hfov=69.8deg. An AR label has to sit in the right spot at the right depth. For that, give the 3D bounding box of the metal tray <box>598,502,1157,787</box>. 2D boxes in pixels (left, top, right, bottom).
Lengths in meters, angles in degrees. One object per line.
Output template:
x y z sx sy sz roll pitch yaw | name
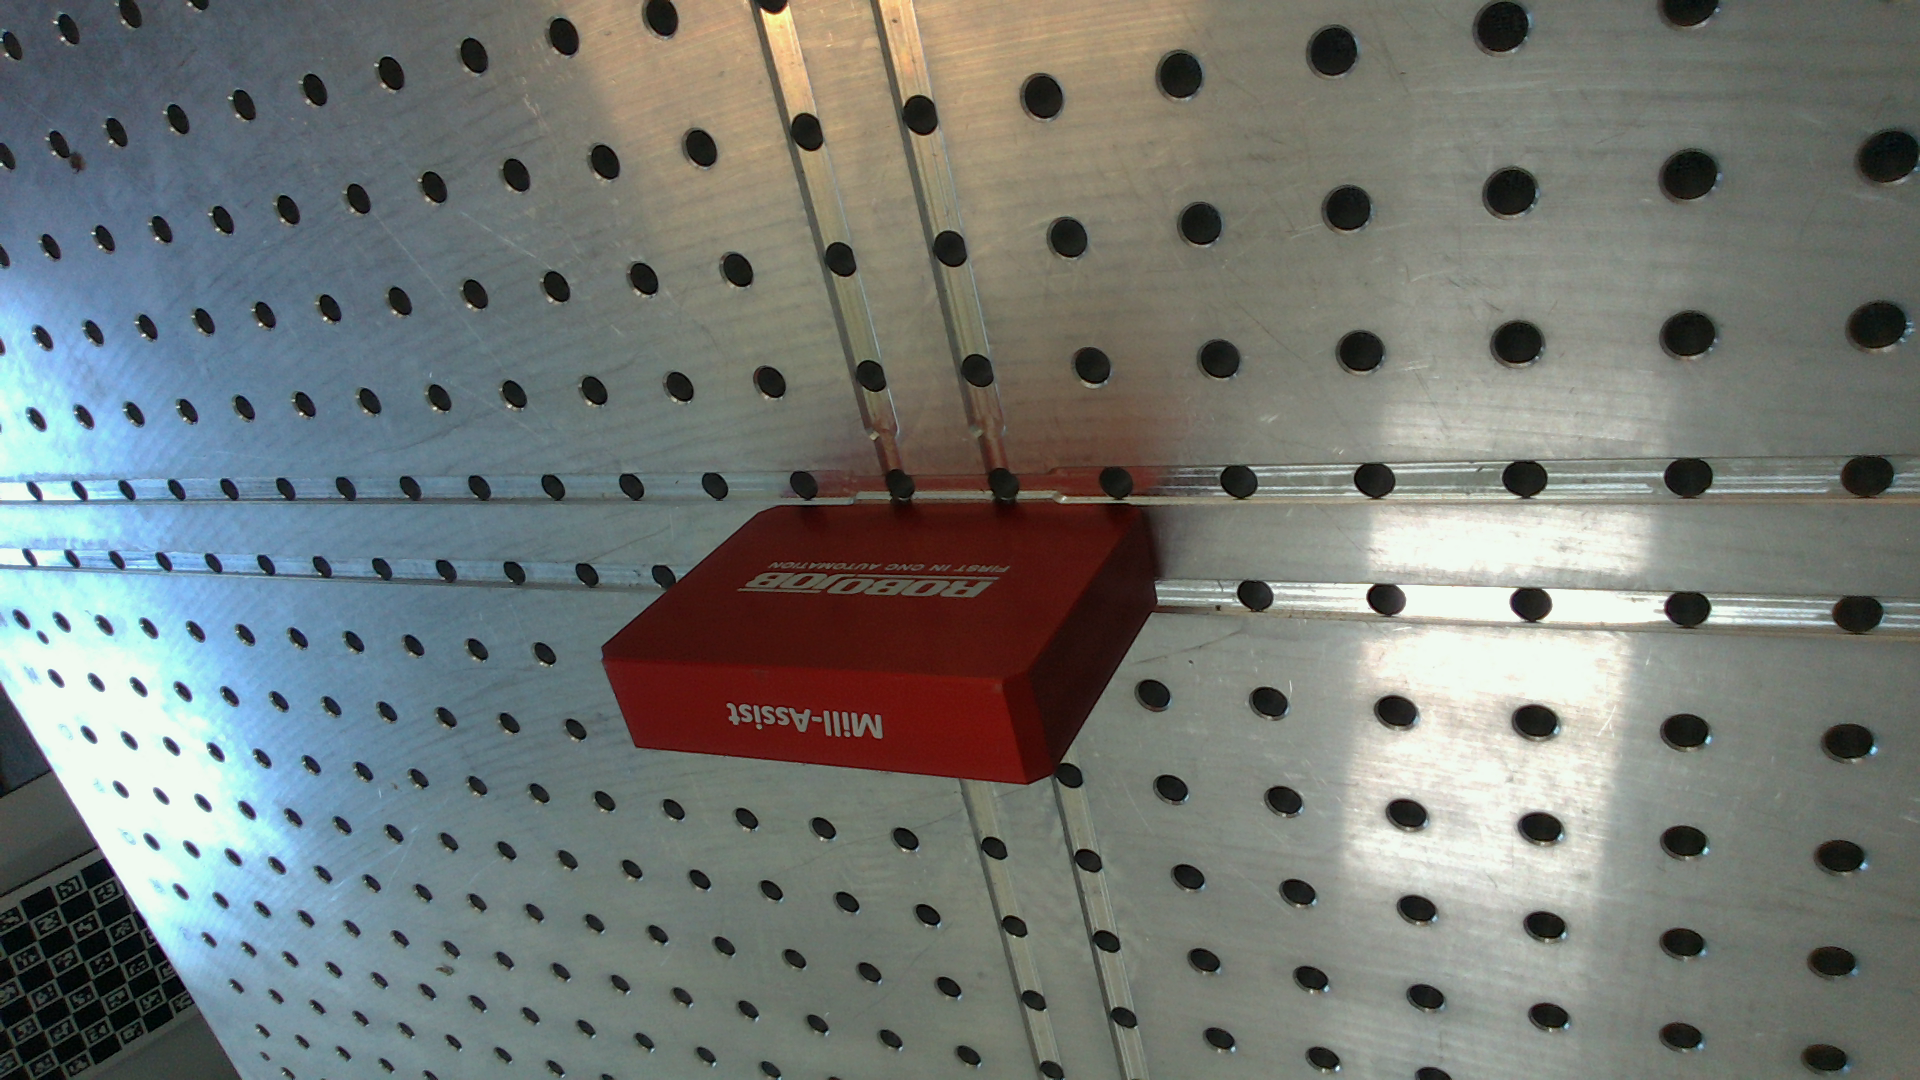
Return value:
-0.021 0.024 0.379 0.130 0.090 0.030 0 119 28 | metal tray
